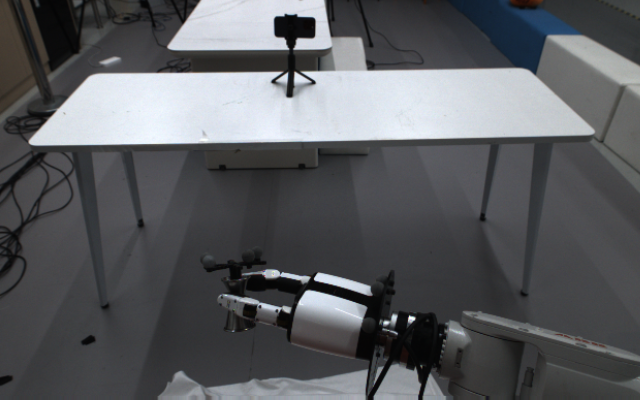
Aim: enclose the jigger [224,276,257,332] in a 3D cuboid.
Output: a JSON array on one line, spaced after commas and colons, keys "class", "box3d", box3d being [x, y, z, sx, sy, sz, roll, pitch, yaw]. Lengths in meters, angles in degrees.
[{"class": "jigger", "box3d": [-0.110, 0.137, 0.649, 0.043, 0.071, 0.043, -4, 1, 0]}]
